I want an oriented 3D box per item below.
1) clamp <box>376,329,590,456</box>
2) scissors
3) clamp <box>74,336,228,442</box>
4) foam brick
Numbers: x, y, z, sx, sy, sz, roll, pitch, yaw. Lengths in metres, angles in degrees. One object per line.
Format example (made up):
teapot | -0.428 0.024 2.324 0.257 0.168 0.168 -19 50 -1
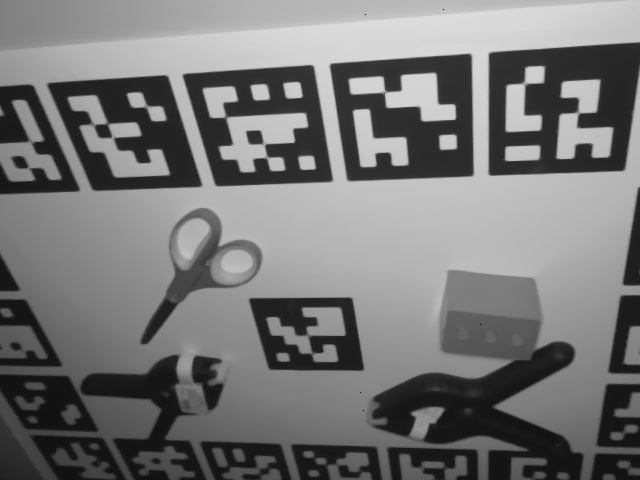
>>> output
clamp | 0.156 0.153 0.678 0.202 0.037 0.164 -4 126 12
scissors | -0.119 0.023 0.642 0.088 0.016 0.199 36 123 -6
clamp | -0.165 0.146 0.728 0.163 0.037 0.122 -26 109 23
foam brick | 0.157 0.043 0.598 0.078 0.052 0.052 4 123 1
